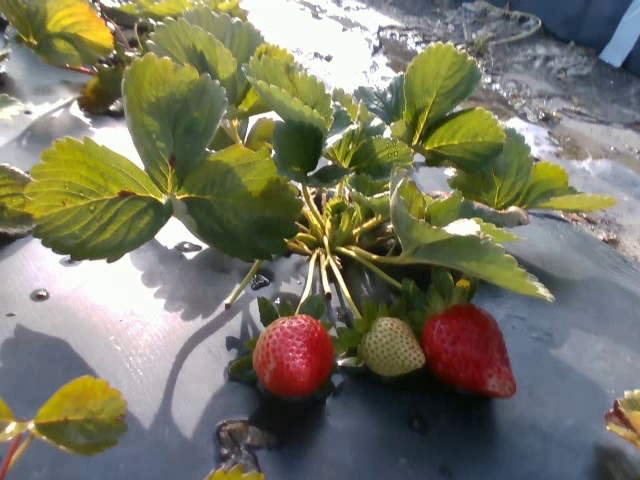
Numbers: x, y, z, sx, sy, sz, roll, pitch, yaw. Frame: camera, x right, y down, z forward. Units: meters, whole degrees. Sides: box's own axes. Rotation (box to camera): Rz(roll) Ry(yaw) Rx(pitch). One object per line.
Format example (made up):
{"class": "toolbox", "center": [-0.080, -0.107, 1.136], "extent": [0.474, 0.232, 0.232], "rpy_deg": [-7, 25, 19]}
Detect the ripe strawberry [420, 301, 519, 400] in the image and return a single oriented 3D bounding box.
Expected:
{"class": "ripe strawberry", "center": [0.081, 0.060, 0.320], "extent": [0.049, 0.064, 0.050], "rpy_deg": [-37, -41, 8]}
